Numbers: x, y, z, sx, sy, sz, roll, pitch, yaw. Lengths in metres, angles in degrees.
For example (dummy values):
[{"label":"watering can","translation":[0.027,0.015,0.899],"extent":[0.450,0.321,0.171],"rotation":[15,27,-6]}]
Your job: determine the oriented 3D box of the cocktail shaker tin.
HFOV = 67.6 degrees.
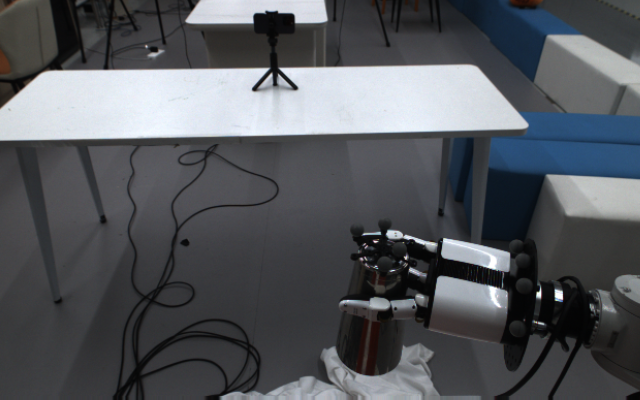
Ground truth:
[{"label":"cocktail shaker tin","translation":[0.075,0.135,0.638],"extent":[0.093,0.170,0.093],"rotation":[3,33,-2]}]
